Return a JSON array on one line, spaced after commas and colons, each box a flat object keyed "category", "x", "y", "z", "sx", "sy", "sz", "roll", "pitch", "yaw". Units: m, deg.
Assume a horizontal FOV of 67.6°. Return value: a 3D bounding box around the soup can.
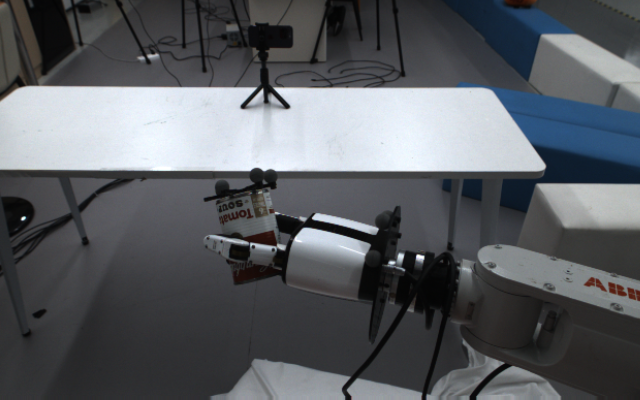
[{"category": "soup can", "x": -0.080, "y": 0.044, "z": 0.582, "sx": 0.067, "sy": 0.101, "sz": 0.067, "roll": -14, "pitch": -2, "yaw": -1}]
